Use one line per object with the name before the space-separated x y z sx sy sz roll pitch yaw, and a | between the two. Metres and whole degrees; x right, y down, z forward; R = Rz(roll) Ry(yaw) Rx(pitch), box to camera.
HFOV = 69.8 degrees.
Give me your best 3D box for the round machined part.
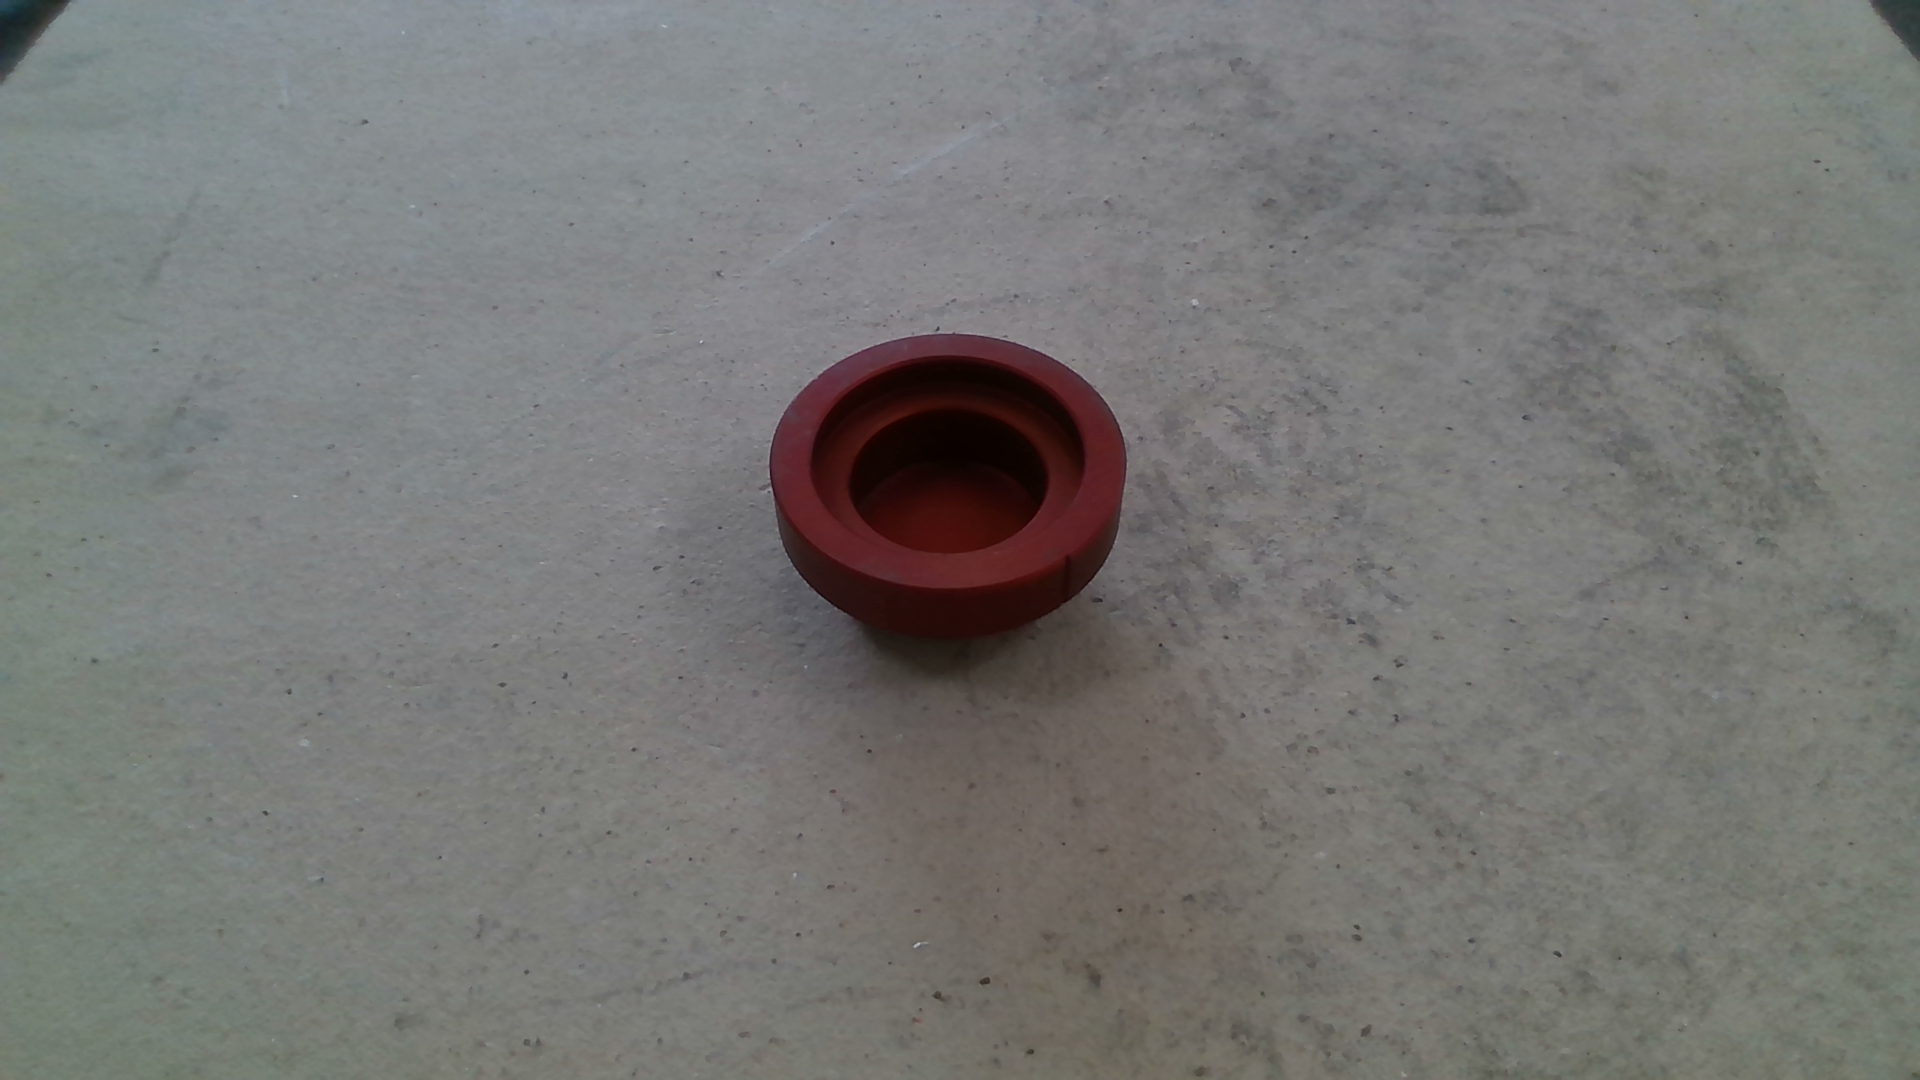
round machined part | -0.003 -0.011 0.392 0.098 0.042 0.098 0 50 0
